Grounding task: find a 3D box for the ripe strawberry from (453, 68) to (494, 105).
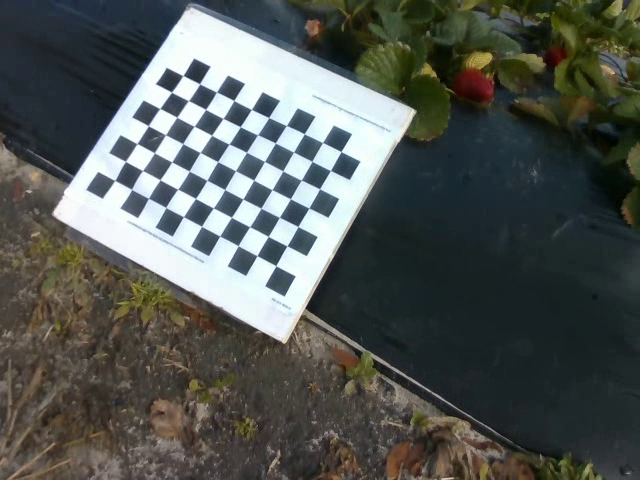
[{"bbox_3d":[0.171,-0.175,0.646,0.050,0.064,0.043,-29,-15,-2],"label":"ripe strawberry"}]
